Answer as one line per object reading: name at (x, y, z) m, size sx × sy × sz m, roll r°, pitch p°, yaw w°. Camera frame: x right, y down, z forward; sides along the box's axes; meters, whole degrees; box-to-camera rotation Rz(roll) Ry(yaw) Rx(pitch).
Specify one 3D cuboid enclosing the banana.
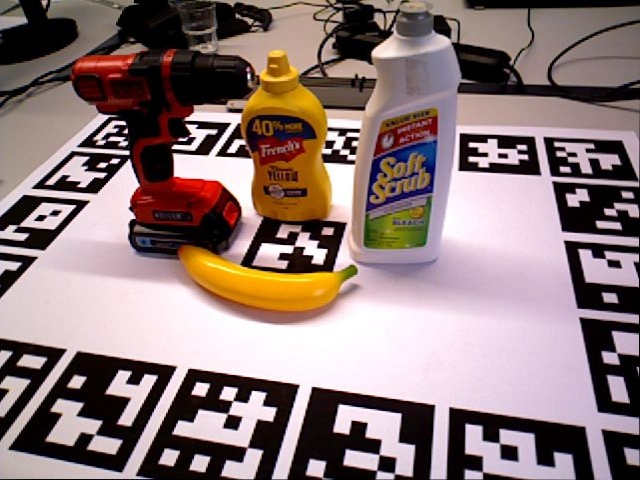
banana at (-0.057, 0.038, 0.532) m, size 0.198 × 0.039 × 0.072 m, roll 6°, pitch 46°, yaw 15°

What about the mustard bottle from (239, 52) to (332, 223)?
mustard bottle at (-0.037, -0.110, 0.587) m, size 0.096 × 0.195 × 0.057 m, roll 7°, pitch 41°, yaw 11°

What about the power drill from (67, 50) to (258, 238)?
power drill at (-0.150, -0.095, 0.552) m, size 0.184 × 0.191 × 0.056 m, roll 5°, pitch 35°, yaw 7°

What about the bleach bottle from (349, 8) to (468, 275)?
bleach bottle at (0.077, -0.079, 0.504) m, size 0.102 × 0.256 × 0.066 m, roll 0°, pitch 42°, yaw 5°
